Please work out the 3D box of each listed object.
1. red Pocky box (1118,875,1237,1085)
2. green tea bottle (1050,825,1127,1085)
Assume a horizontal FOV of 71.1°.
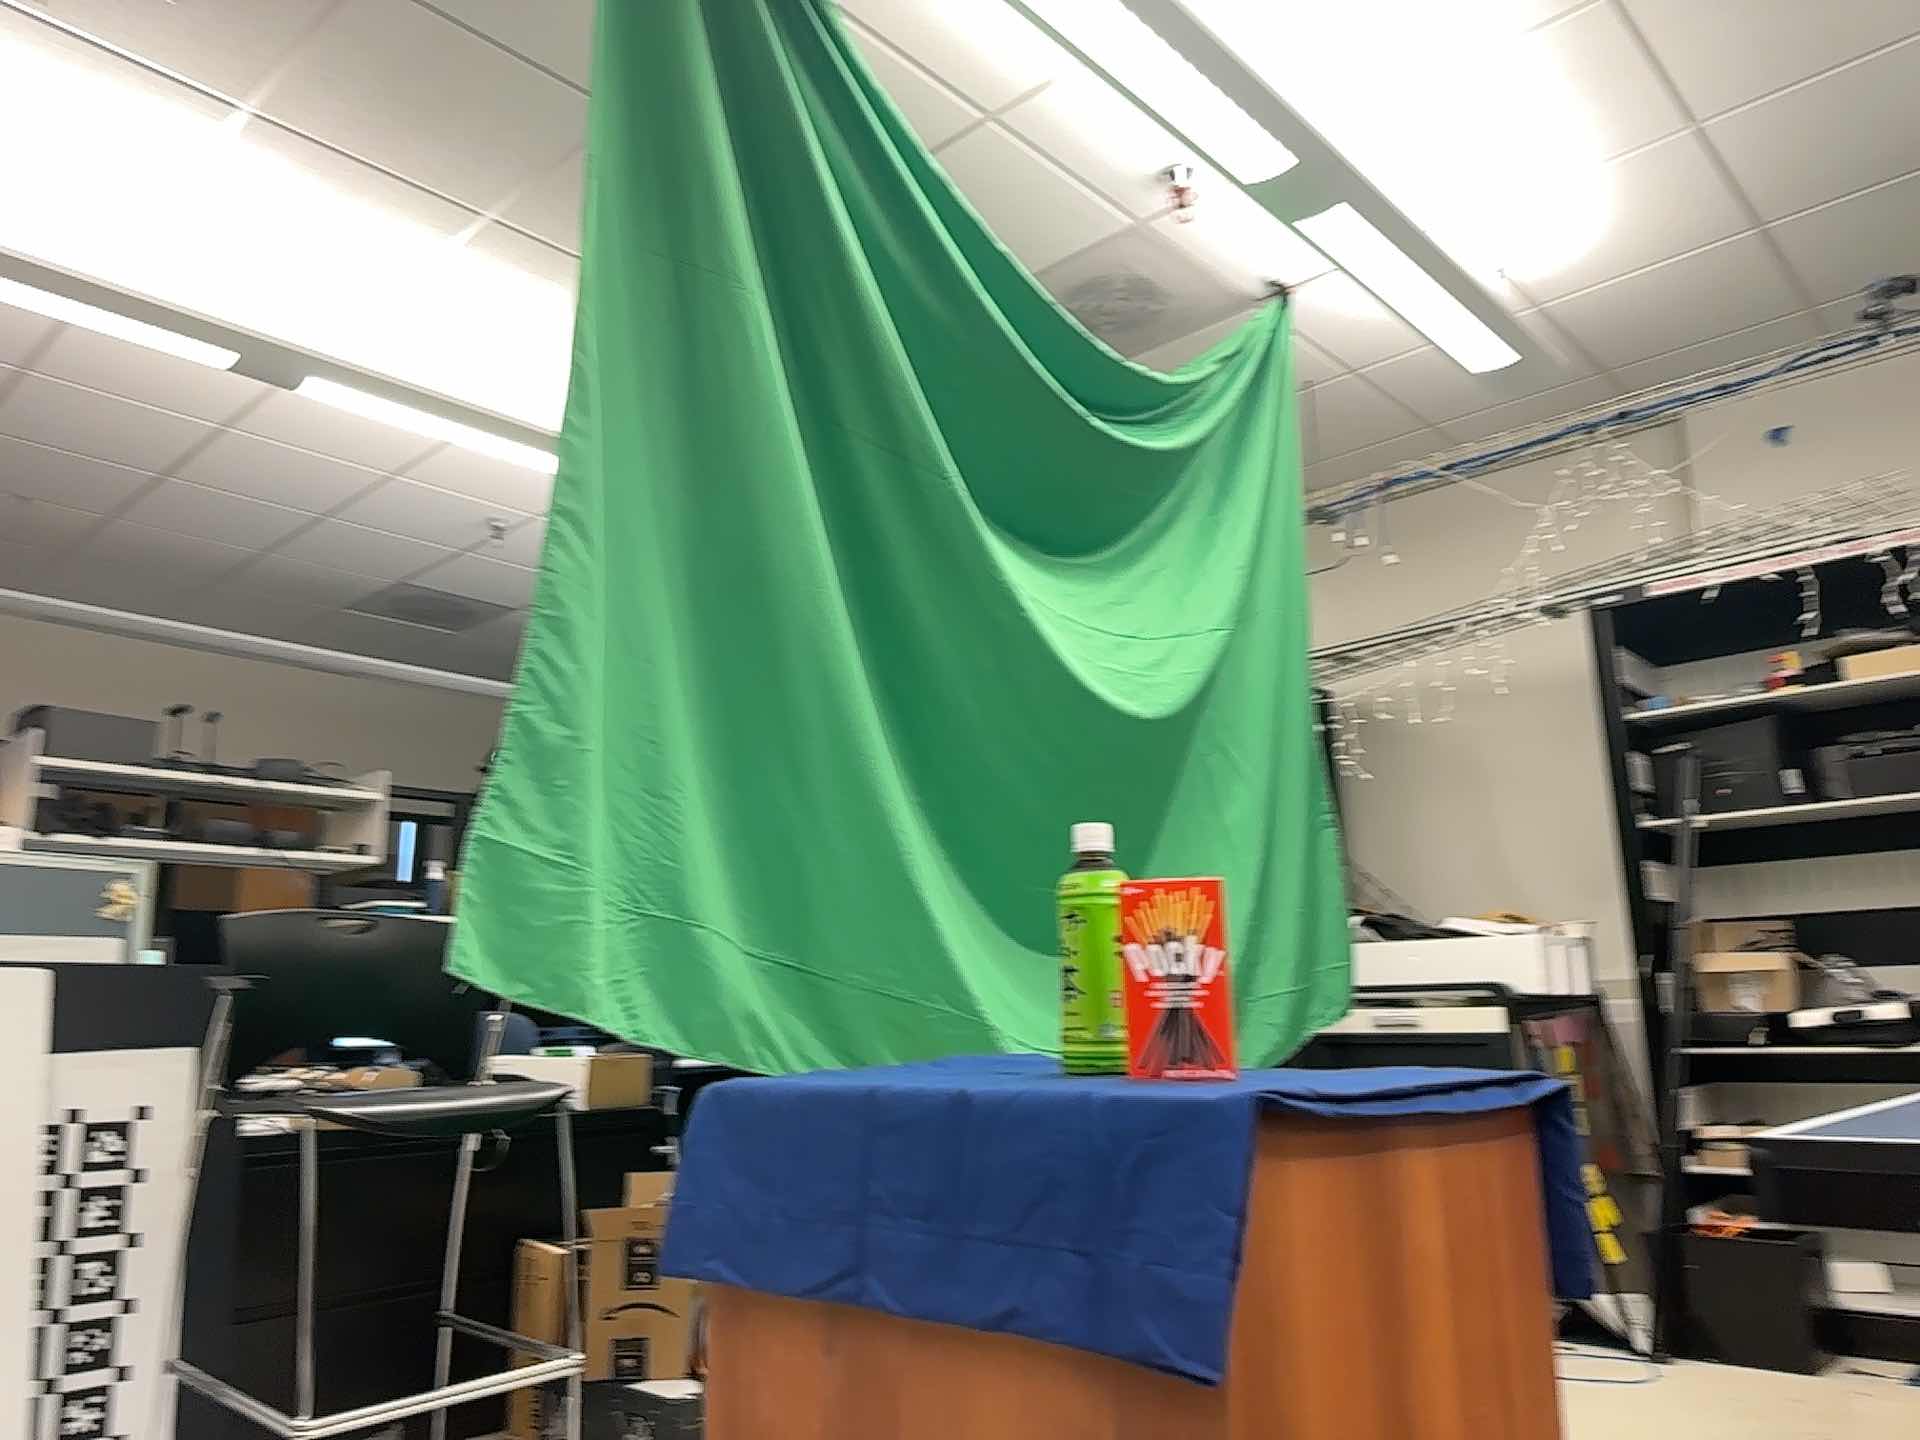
[{"bbox_3d":[0.163,0.195,1.017,0.083,0.155,0.028,-4,-11,13],"label":"red Pocky box"},{"bbox_3d":[0.109,0.194,1.125,0.073,0.212,0.073,-2,-13,0],"label":"green tea bottle"}]
